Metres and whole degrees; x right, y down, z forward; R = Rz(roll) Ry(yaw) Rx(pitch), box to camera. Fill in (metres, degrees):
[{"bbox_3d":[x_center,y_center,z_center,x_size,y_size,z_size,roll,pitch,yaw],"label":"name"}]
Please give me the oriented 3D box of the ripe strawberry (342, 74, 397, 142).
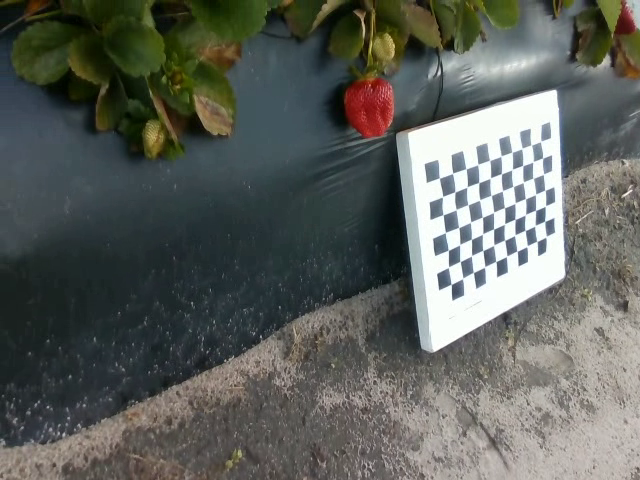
[{"bbox_3d":[0.059,-0.151,0.696,0.067,0.075,0.039,-15,15,-31],"label":"ripe strawberry"}]
